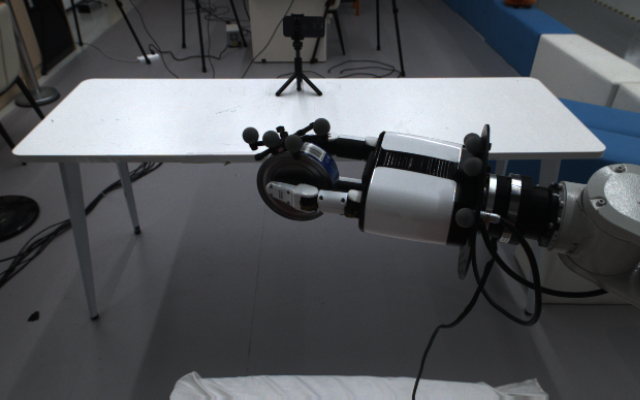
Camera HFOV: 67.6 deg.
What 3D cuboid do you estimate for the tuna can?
[{"bbox_3d":[-0.020,-0.017,0.526,0.085,0.085,0.034,10,33,11],"label":"tuna can"}]
